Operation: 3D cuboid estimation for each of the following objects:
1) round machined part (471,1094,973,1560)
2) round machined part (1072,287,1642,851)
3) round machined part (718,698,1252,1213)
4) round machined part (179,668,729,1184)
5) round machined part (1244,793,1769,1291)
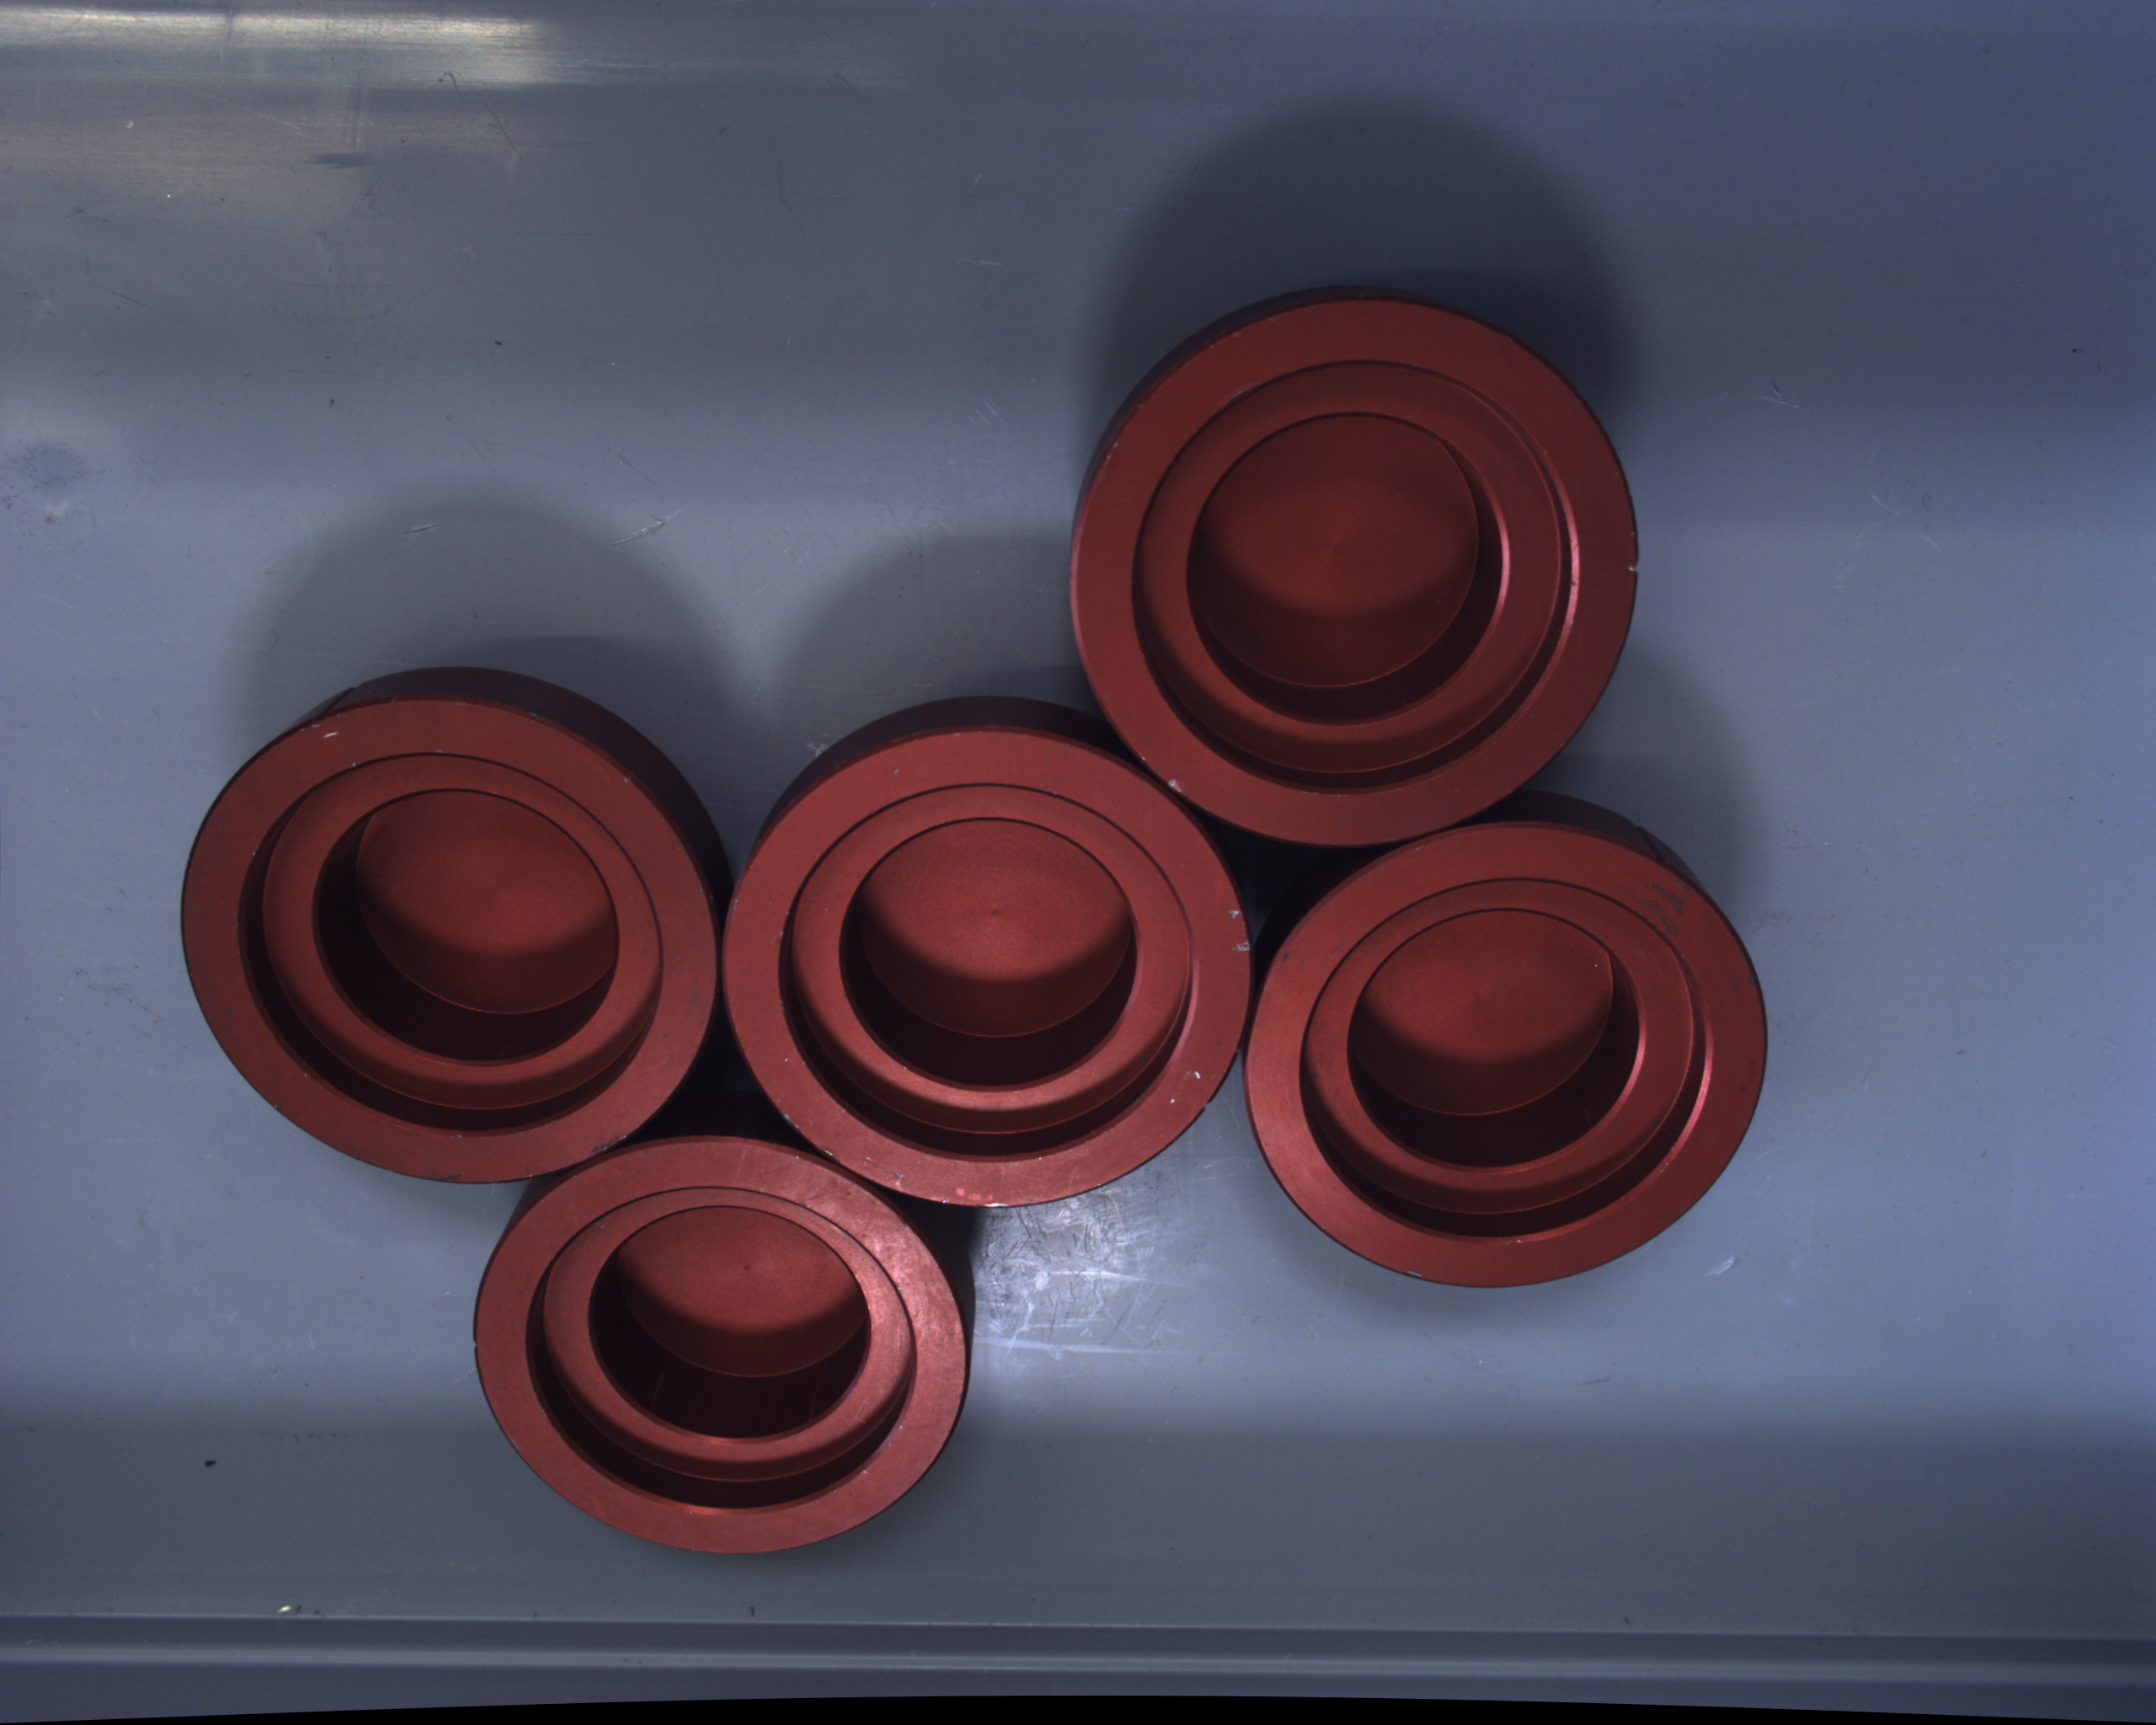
[{"bbox_3d":[-0.071,0.091,0.432,0.099,0.042,0.097,0,110,0],"label":"round machined part"},{"bbox_3d":[0.048,-0.055,0.380,0.099,0.042,0.097,0,110,0],"label":"round machined part"},{"bbox_3d":[-0.017,0.015,0.404,0.099,0.042,0.097,0,110,0],"label":"round machined part"},{"bbox_3d":[-0.115,0.009,0.402,0.099,0.042,0.097,0,110,0],"label":"round machined part"},{"bbox_3d":[0.081,0.032,0.412,0.099,0.042,0.097,0,110,0],"label":"round machined part"}]
